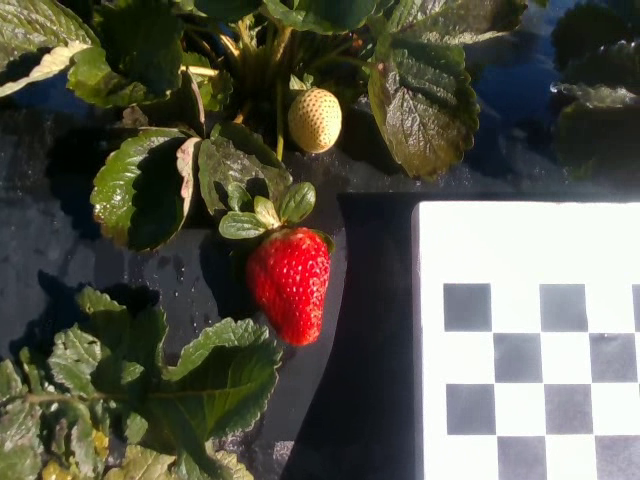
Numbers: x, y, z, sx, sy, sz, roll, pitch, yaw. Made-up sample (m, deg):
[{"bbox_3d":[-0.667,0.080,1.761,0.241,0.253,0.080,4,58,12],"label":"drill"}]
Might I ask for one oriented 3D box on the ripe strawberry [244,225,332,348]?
[{"bbox_3d":[-0.013,0.024,0.307,0.048,0.069,0.040,-18,-16,-5],"label":"ripe strawberry"}]
